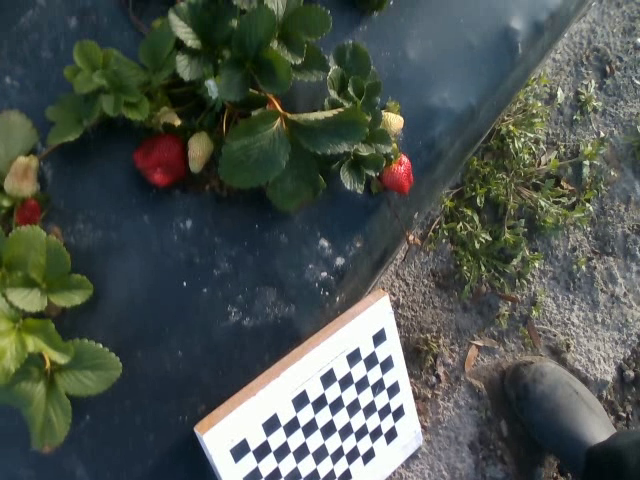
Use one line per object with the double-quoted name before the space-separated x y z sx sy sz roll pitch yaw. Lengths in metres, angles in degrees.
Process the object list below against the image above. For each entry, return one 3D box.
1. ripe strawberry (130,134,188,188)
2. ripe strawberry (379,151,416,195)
"ripe strawberry" -0.173 -0.083 0.698 0.057 0.058 0.070 6 26 27
"ripe strawberry" 0.107 -0.080 0.800 0.034 0.048 0.050 20 -25 53
